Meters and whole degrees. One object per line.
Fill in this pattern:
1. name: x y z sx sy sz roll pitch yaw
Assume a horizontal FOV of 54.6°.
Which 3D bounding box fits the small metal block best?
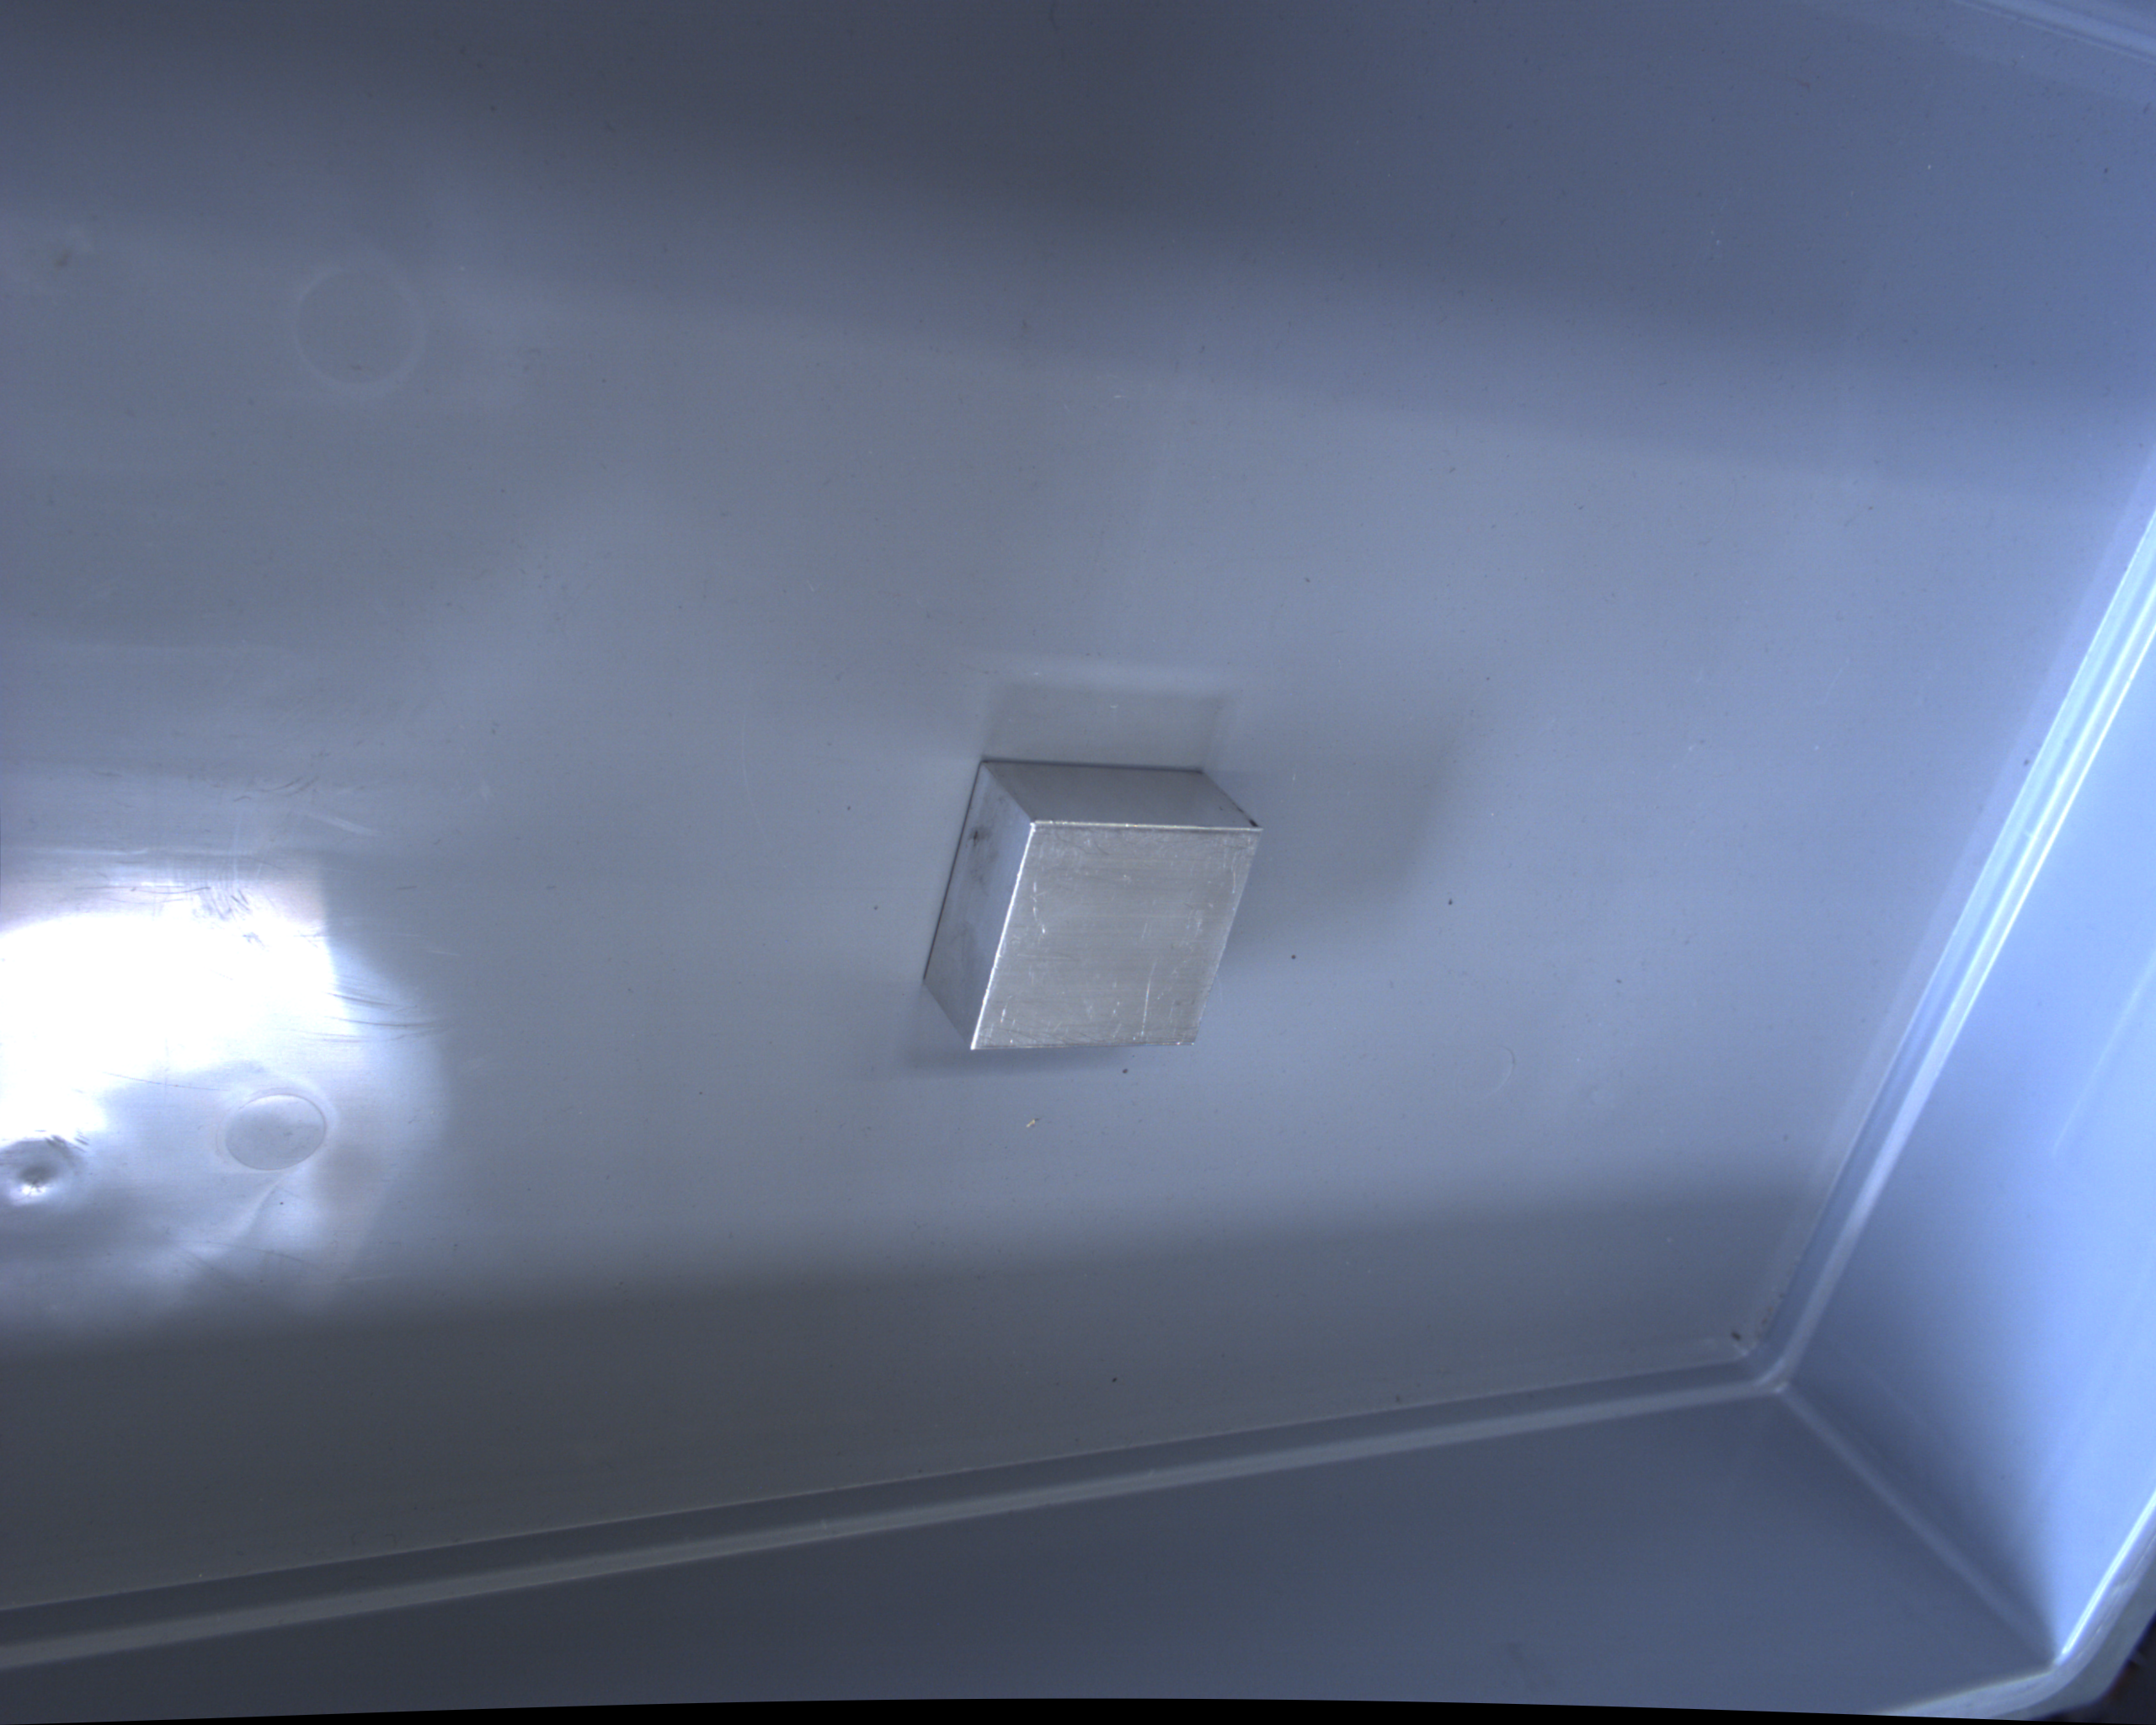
1. small metal block: 0.002 0.009 0.410 0.050 0.025 0.050 2 118 -29
